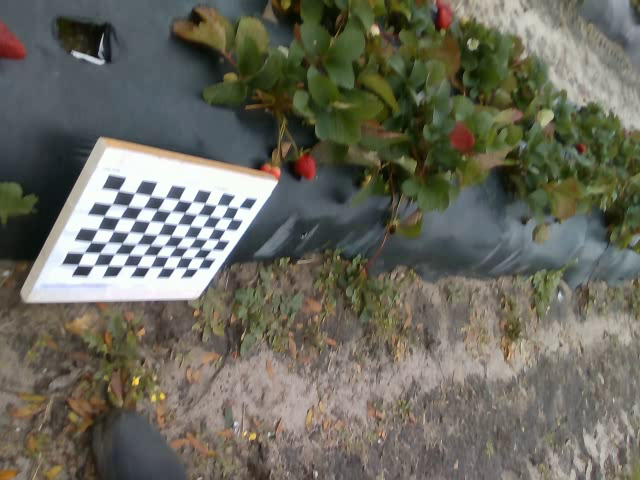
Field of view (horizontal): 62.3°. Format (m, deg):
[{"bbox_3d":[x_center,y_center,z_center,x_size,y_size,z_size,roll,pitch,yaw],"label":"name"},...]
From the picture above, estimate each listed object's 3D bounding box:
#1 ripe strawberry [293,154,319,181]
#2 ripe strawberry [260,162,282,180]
[{"bbox_3d":[-0.031,-0.131,0.928,0.044,0.059,0.042,-23,32,-4],"label":"ripe strawberry"},{"bbox_3d":[-0.090,-0.108,0.877,0.036,0.041,0.027,13,14,-38],"label":"ripe strawberry"}]
